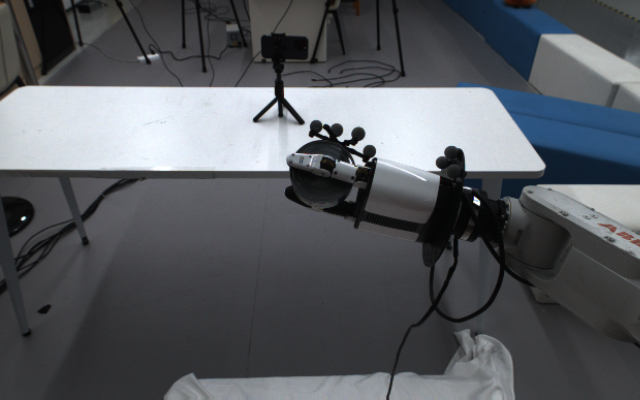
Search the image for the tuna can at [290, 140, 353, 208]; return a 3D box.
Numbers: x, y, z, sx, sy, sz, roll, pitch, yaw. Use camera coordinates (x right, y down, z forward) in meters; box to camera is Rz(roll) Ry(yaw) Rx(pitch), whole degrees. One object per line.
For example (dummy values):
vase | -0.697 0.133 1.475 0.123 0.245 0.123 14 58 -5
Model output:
tuna can | 0.005 -0.034 0.634 0.085 0.034 0.085 0 72 0
